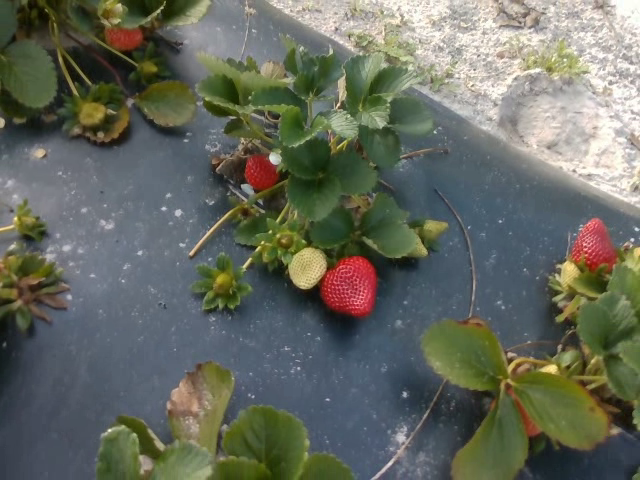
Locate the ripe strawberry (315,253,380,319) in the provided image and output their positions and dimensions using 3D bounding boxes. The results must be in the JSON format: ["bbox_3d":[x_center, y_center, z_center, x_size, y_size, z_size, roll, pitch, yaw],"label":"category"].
[{"bbox_3d":[0.024,0.043,0.482,0.051,0.048,0.055,-36,30,12],"label":"ripe strawberry"}]
